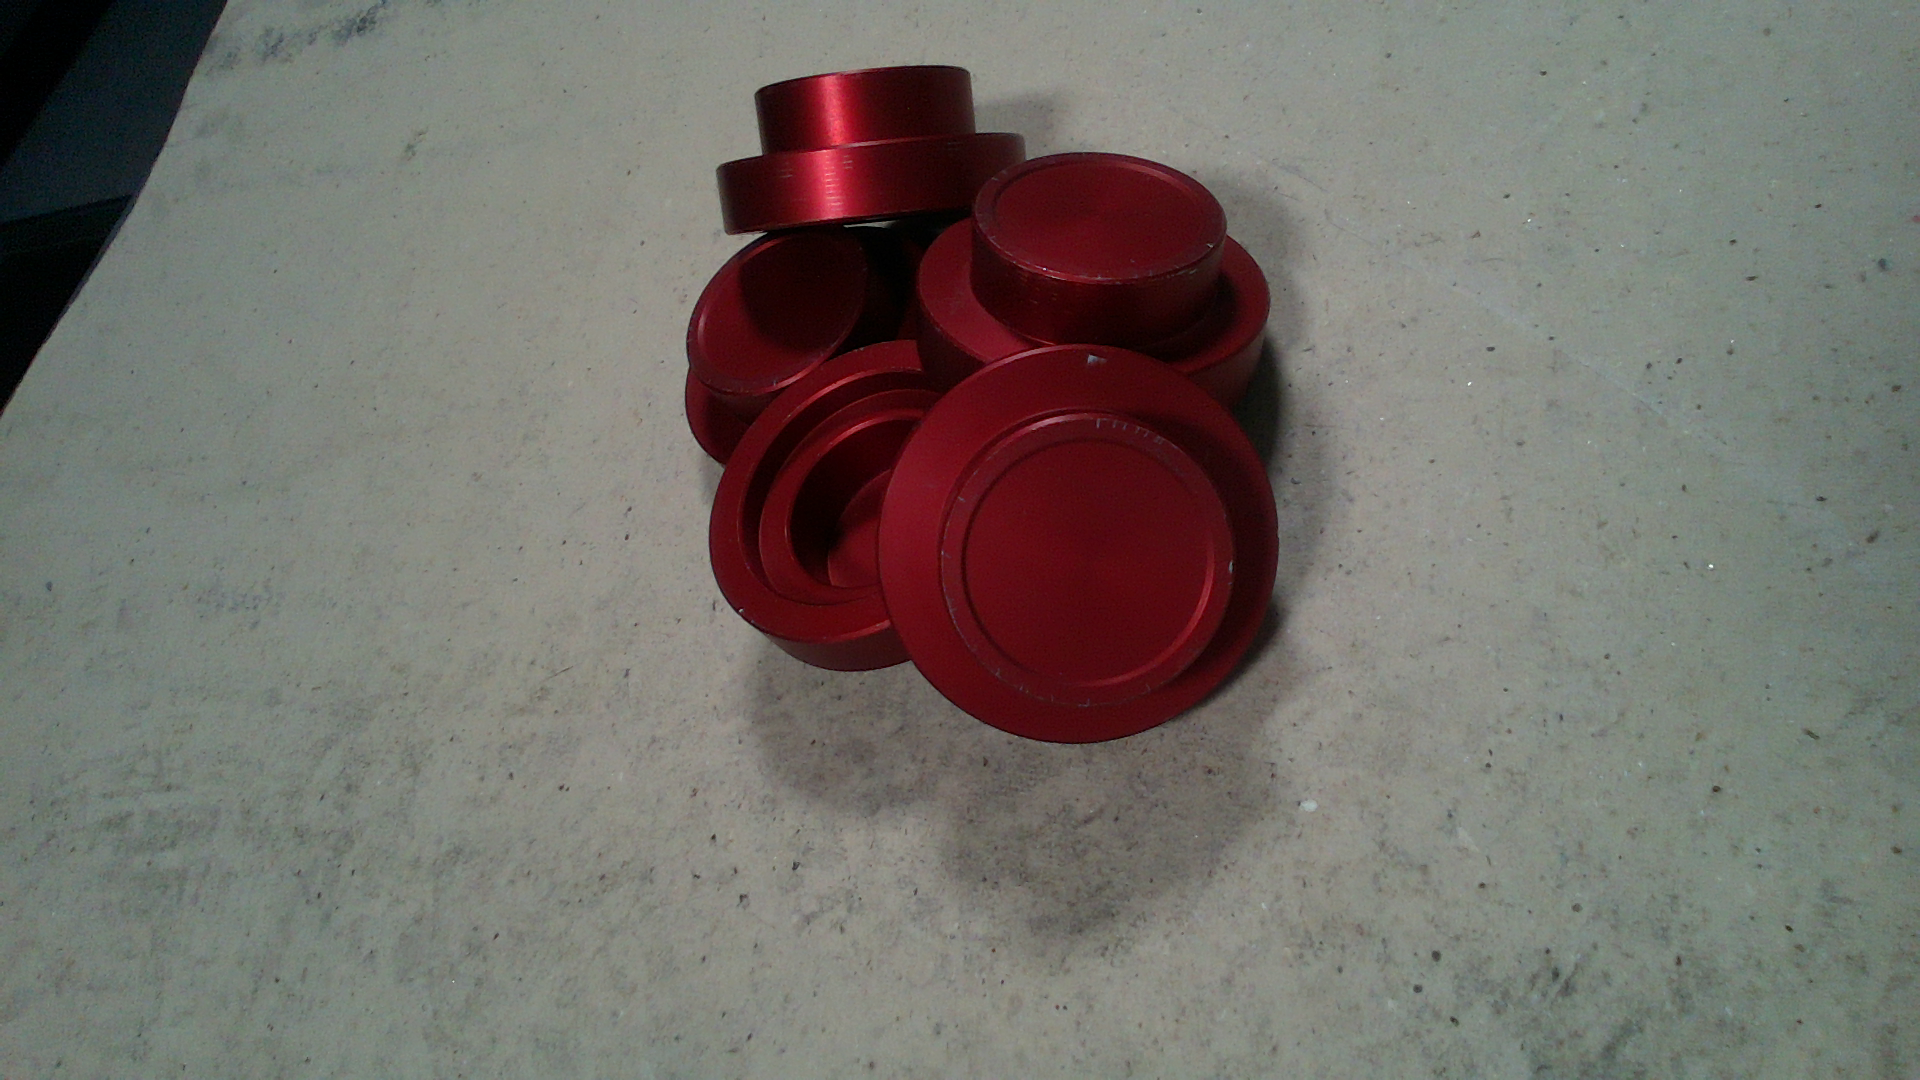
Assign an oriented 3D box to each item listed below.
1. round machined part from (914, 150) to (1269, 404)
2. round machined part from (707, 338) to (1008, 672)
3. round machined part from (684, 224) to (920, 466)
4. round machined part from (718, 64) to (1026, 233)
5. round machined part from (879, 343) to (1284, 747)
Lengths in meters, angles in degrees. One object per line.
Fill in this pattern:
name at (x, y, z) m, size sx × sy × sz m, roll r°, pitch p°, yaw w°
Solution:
round machined part at (0.036, -0.073, 0.380) m, size 0.098 × 0.042 × 0.098 m, roll 2°, pitch 42°, yaw -1°
round machined part at (-0.020, -0.006, 0.398) m, size 0.098 × 0.042 × 0.098 m, roll -13°, pitch 56°, yaw 21°
round machined part at (-0.050, -0.064, 0.451) m, size 0.098 × 0.042 × 0.098 m, roll -13°, pitch 56°, yaw 21°
round machined part at (-0.028, -0.124, 0.437) m, size 0.098 × 0.098 × 0.042 m, roll 1°, pitch 104°, yaw 29°
round machined part at (0.030, 0.003, 0.329) m, size 0.098 × 0.098 × 0.042 m, roll -37°, pitch 10°, yaw 3°
